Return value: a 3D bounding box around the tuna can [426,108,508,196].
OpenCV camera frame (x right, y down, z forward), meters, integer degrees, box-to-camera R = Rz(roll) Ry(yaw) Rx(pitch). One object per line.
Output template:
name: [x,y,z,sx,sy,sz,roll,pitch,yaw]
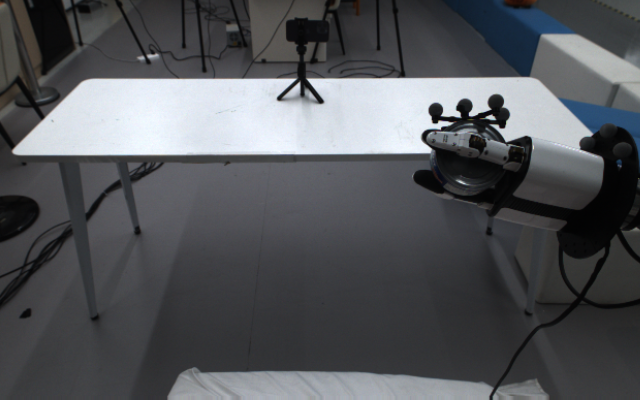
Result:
tuna can: [0.176,-0.052,0.572,0.085,0.034,0.085,0,73,1]
